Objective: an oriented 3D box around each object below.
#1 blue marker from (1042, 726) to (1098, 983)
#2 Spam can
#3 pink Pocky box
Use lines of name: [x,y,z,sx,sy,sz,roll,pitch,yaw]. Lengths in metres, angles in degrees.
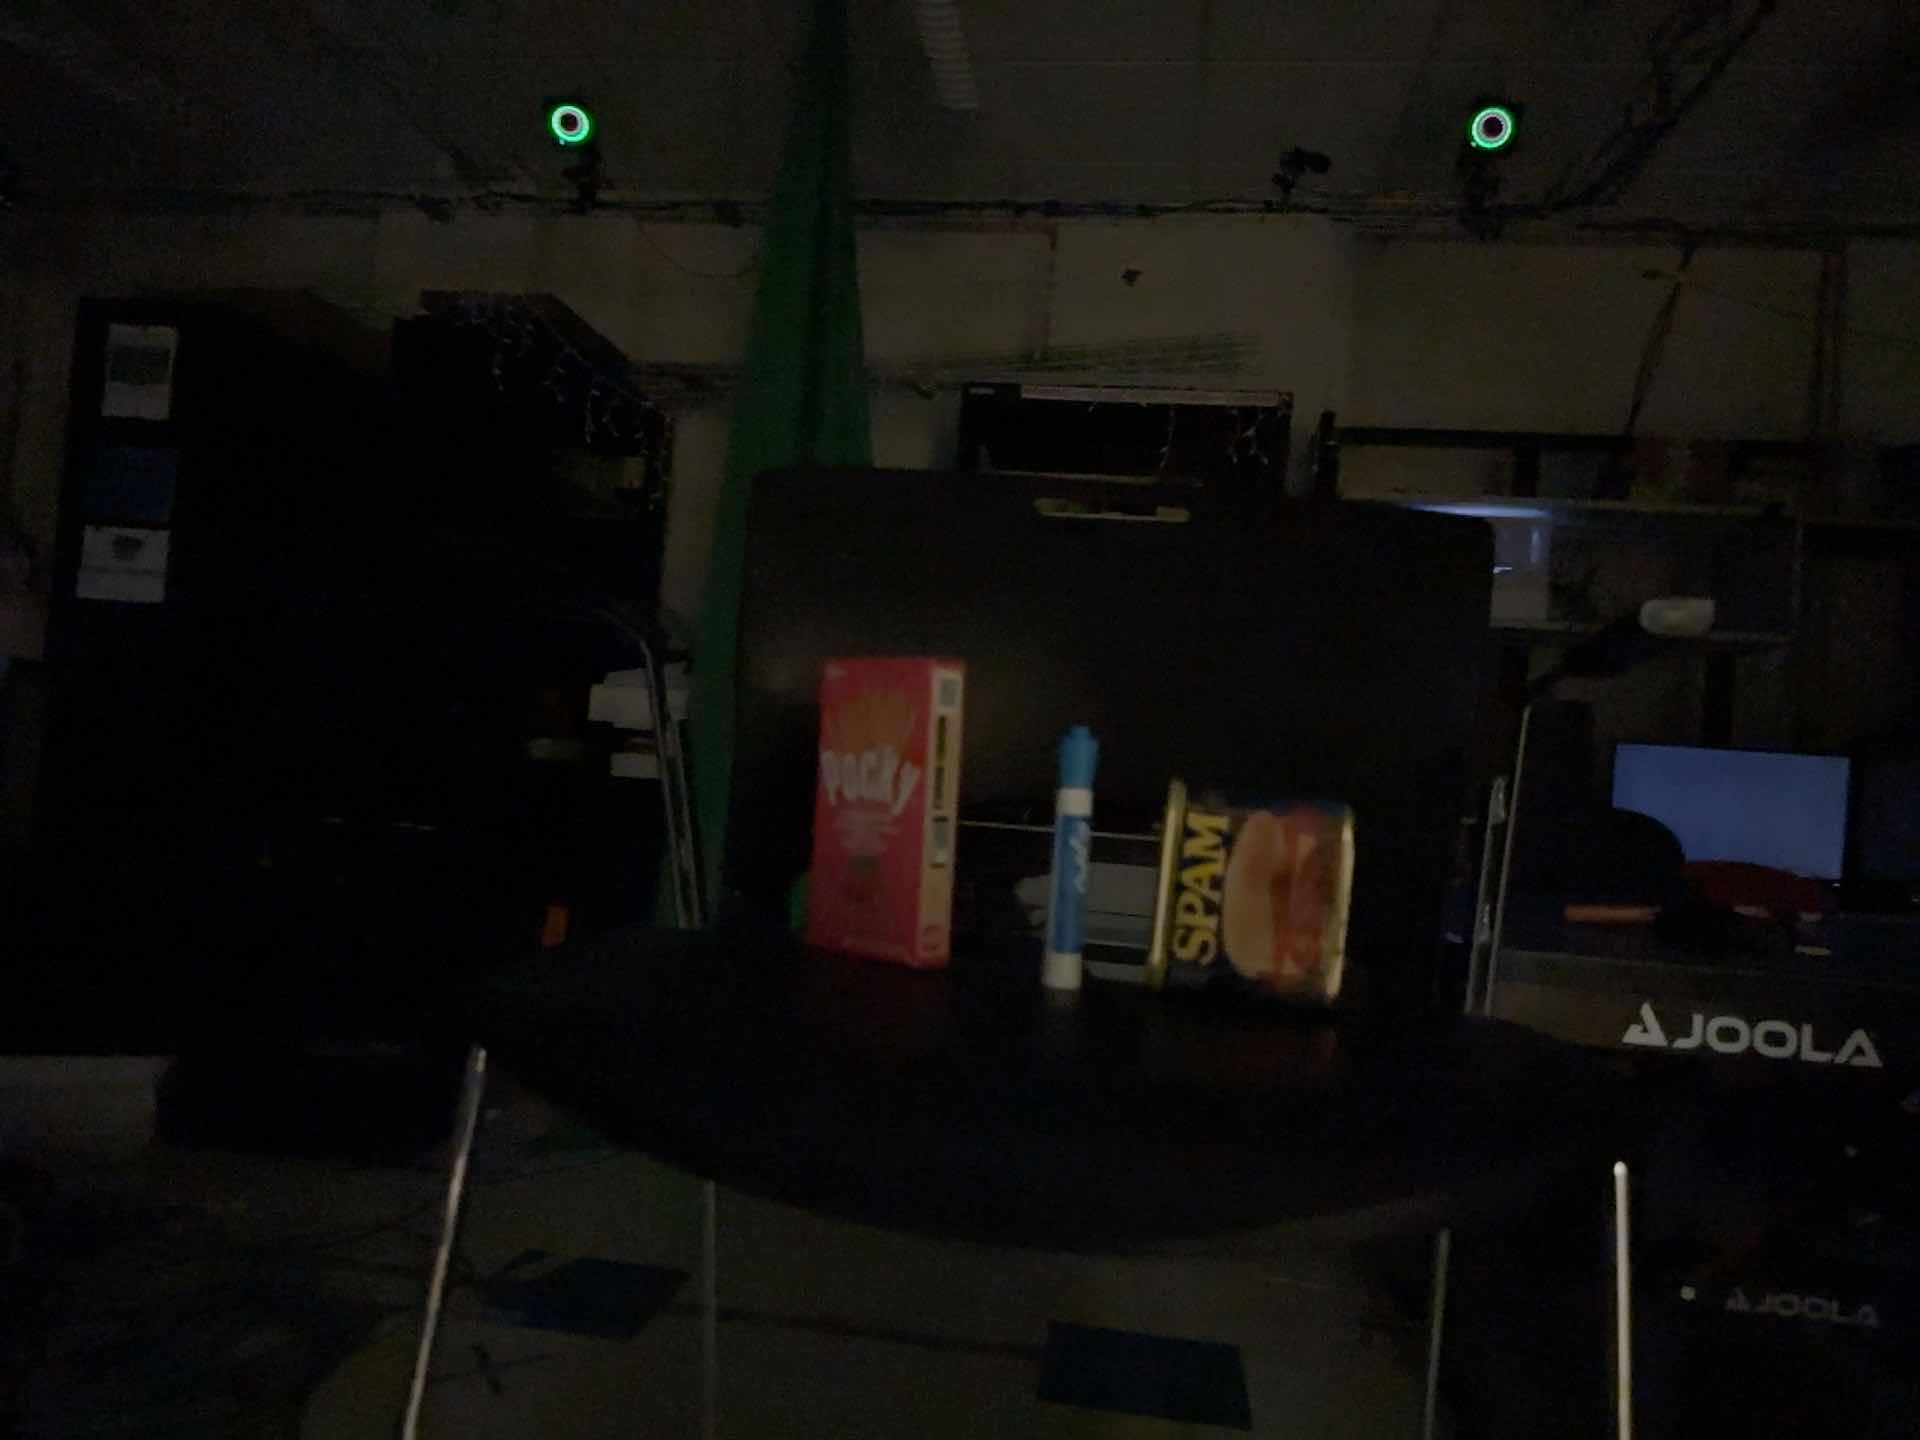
blue marker: [0.052,0.063,0.640,0.020,0.121,0.020,4,1,0]
Spam can: [0.138,0.076,0.643,0.083,0.100,0.056,6,-1,2]
pink Pocky box: [-0.039,0.040,0.690,0.084,0.155,0.029,2,-1,43]
